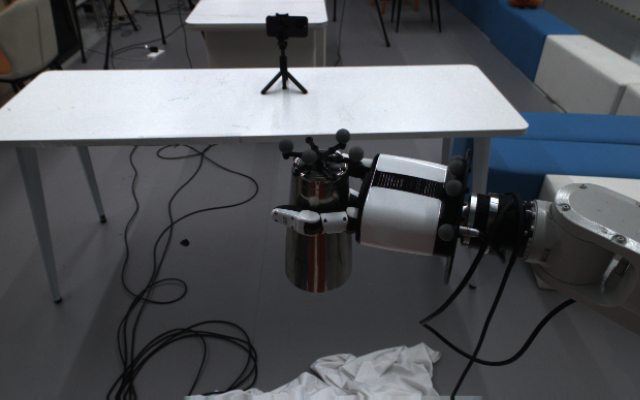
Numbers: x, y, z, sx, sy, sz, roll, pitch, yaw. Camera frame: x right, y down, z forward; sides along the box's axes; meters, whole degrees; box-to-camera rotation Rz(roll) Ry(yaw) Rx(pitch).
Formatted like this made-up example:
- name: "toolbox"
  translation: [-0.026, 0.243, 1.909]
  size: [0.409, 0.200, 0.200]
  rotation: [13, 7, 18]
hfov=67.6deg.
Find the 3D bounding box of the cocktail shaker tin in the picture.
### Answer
- name: "cocktail shaker tin"
  translation: [0.003, 0.022, 0.610]
  size: [0.093, 0.170, 0.093]
  rotation: [1, 39, -1]
